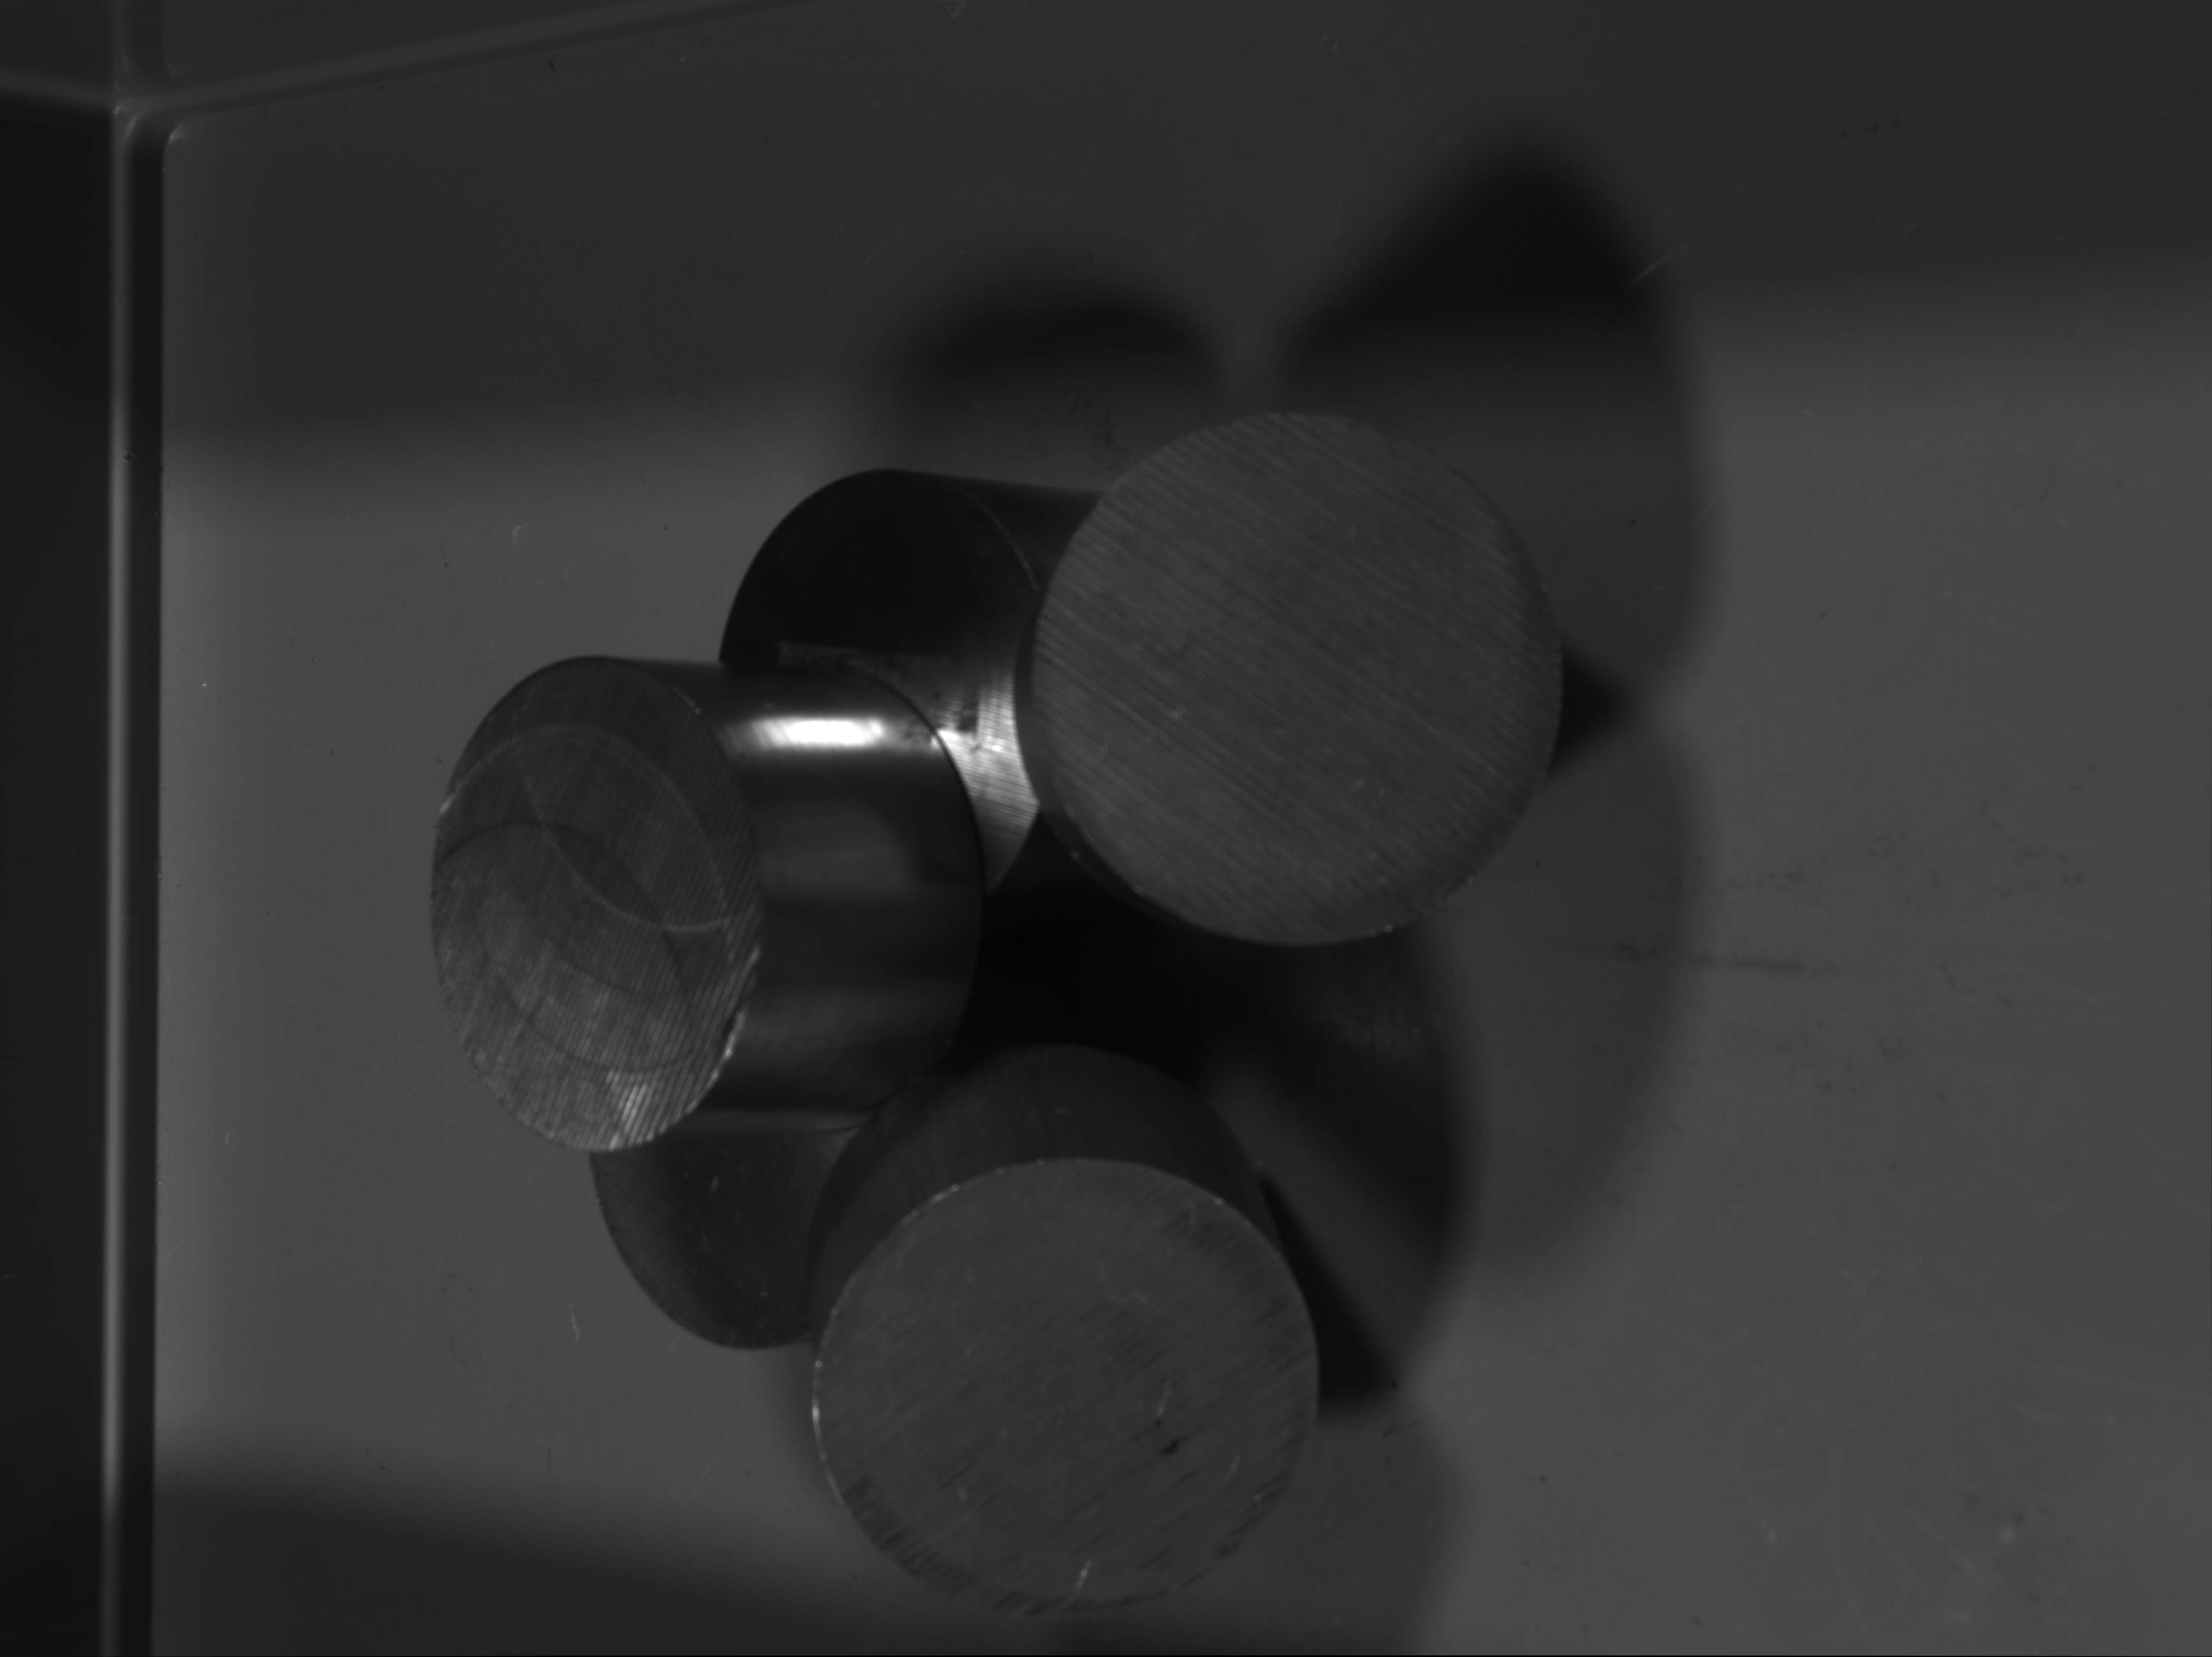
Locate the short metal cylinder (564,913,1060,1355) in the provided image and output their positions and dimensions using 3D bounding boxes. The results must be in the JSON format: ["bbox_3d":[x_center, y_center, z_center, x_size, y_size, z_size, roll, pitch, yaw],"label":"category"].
[{"bbox_3d":[-0.053,0.052,0.663,0.080,0.050,0.080,0,90,39],"label":"short metal cylinder"}]

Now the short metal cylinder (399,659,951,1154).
[{"bbox_3d":[-0.072,0.013,0.612,0.080,0.050,0.080,0,90,39],"label":"short metal cylinder"}]

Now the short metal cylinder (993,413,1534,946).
[{"bbox_3d":[0.023,-0.022,0.573,0.080,0.050,0.080,0,89,-5],"label":"short metal cylinder"}]

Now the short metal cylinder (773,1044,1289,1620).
[{"bbox_3d":[-0.014,0.082,0.601,0.050,0.080,0.080,-113,40,-71],"label":"short metal cylinder"}]

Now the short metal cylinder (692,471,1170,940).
[{"bbox_3d":[-0.027,-0.020,0.640,0.080,0.050,0.080,0,90,39],"label":"short metal cylinder"}]
